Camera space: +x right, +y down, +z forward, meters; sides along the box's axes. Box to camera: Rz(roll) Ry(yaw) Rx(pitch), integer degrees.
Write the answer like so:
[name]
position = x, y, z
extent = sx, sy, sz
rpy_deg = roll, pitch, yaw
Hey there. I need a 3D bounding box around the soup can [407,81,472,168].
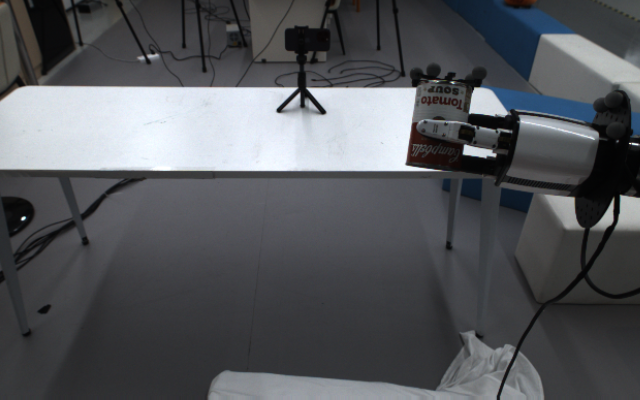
[soup can]
position = 0.147, -0.091, 0.596
extent = 0.067, 0.101, 0.067
rpy_deg = 7, 4, 0
